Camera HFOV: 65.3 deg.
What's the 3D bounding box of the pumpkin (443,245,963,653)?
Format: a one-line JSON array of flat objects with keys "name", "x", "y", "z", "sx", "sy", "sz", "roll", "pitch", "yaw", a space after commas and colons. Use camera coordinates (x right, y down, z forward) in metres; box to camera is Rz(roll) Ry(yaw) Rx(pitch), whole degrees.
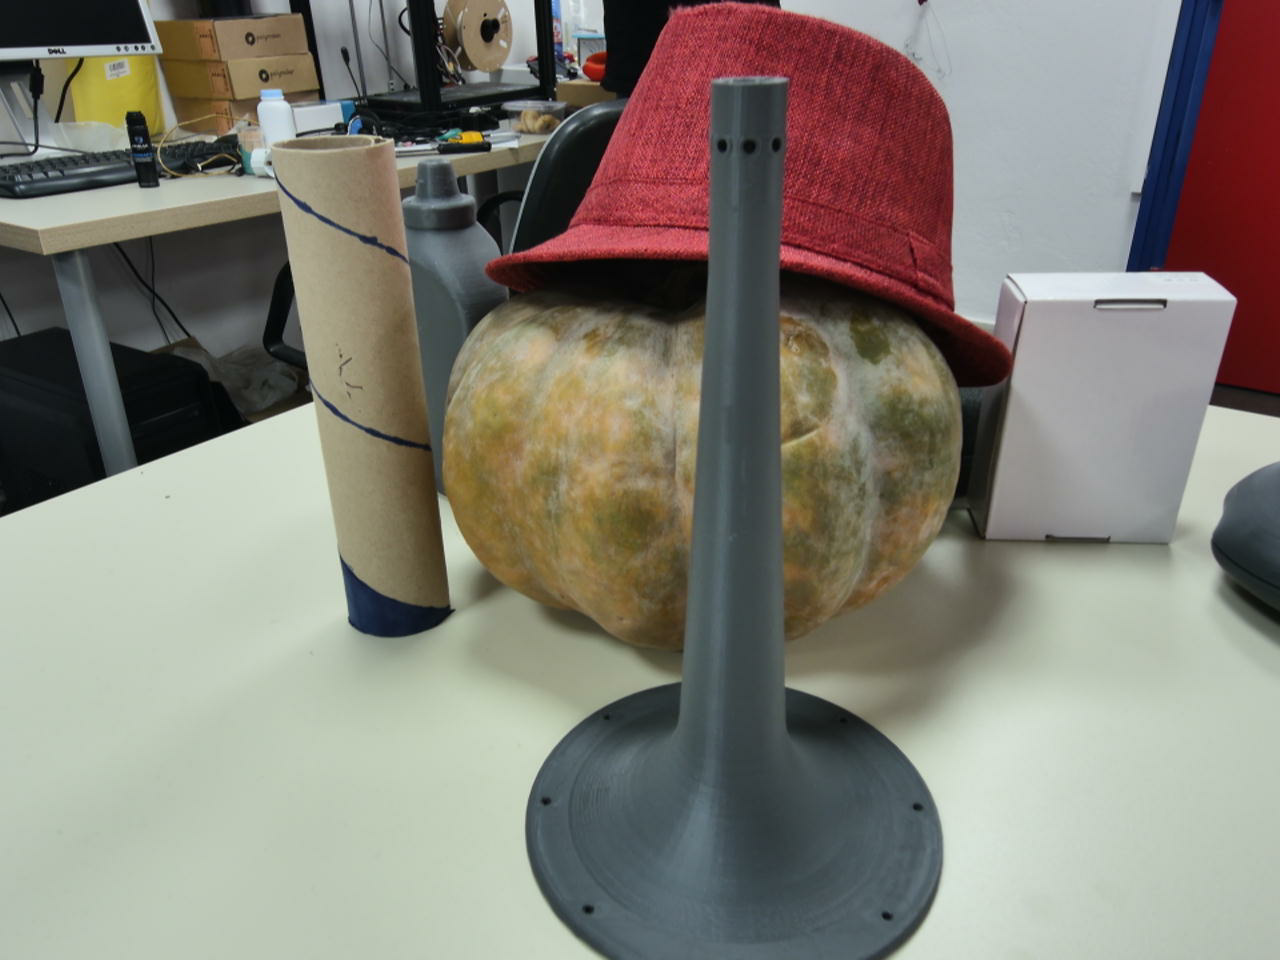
[{"name": "pumpkin", "x": 0.026, "y": -0.024, "z": 0.481, "sx": 0.252, "sy": 0.169, "sz": 0.251, "roll": 0, "pitch": 25, "yaw": 0}]
